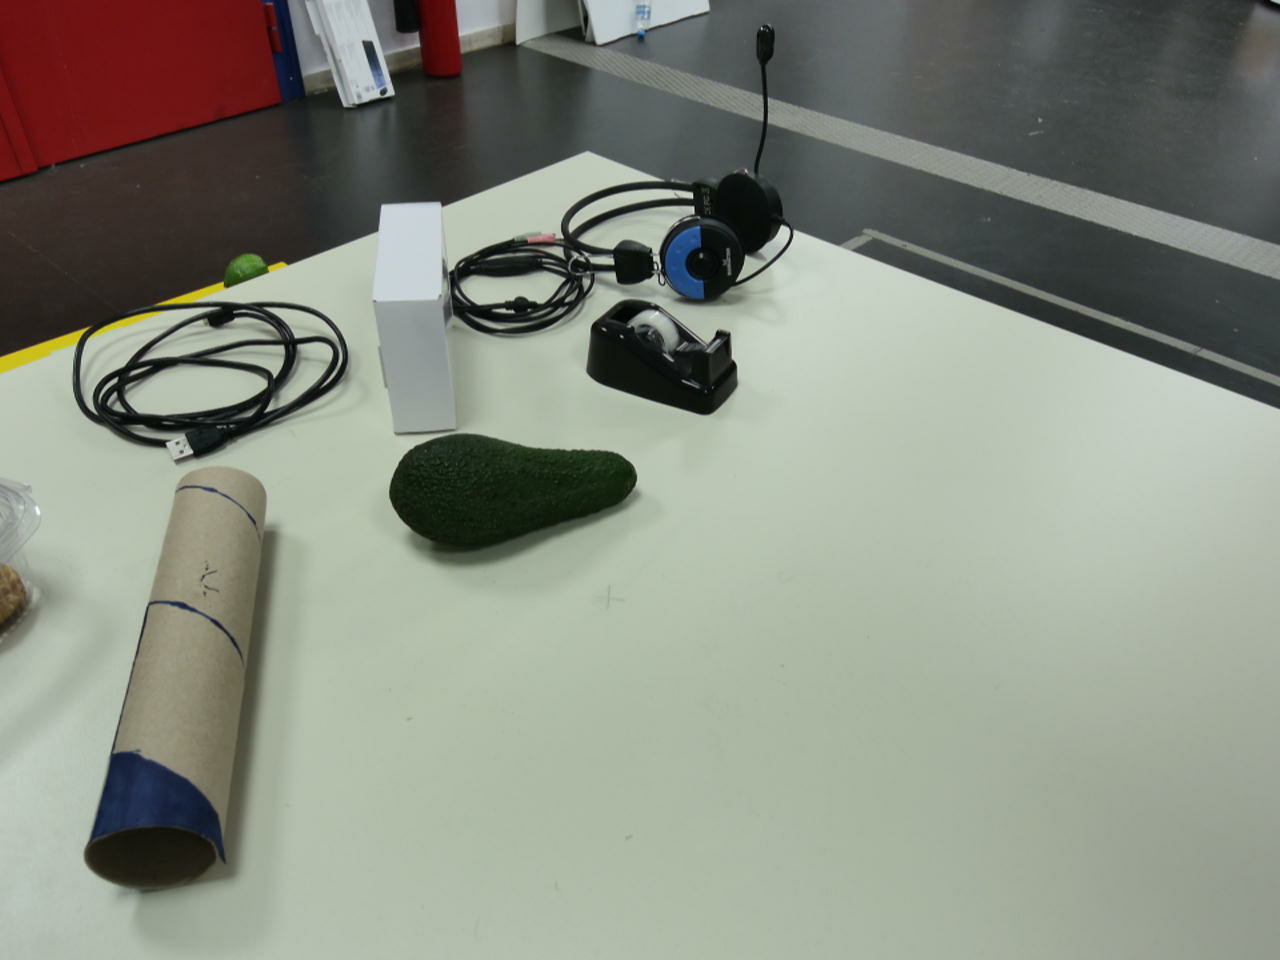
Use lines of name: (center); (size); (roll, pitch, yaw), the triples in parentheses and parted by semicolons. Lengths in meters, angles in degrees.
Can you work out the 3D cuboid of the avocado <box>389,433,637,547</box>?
avocado: (-0.071, -0.005, 0.562); (0.141, 0.067, 0.063); (-22, 43, -27)
